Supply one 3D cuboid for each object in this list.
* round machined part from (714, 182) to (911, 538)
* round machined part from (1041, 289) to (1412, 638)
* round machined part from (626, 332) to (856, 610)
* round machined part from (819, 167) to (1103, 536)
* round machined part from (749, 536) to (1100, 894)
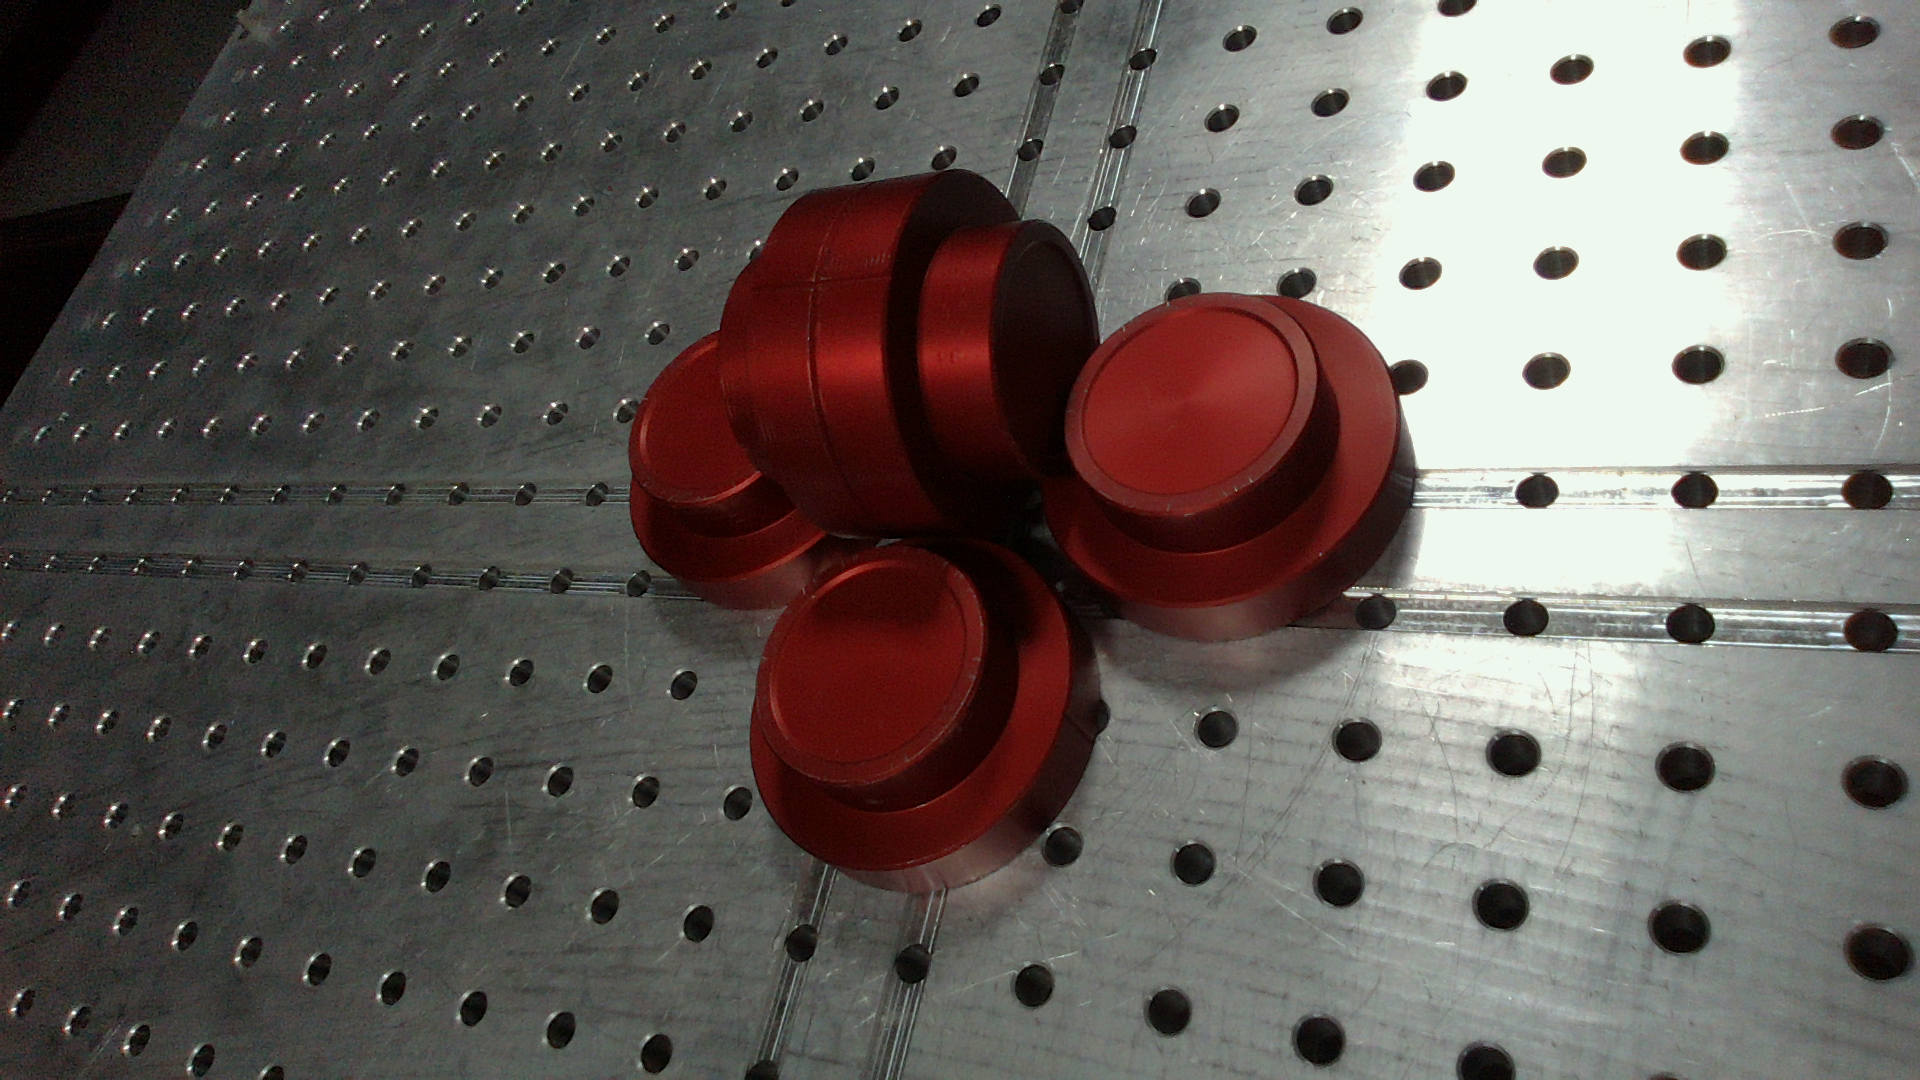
[{"bbox_3d":[-0.032,-0.050,0.390,0.042,0.098,0.098,1,62,29],"label":"round machined part"},{"bbox_3d":[0.066,-0.027,0.366,0.098,0.042,0.098,-13,56,21],"label":"round machined part"},{"bbox_3d":[-0.067,-0.030,0.441,0.098,0.042,0.098,-13,56,21],"label":"round machined part"},{"bbox_3d":[0.007,-0.050,0.370,0.042,0.098,0.098,-1,61,28],"label":"round machined part"},{"bbox_3d":[-0.015,0.041,0.369,0.098,0.042,0.098,-13,56,21],"label":"round machined part"}]
